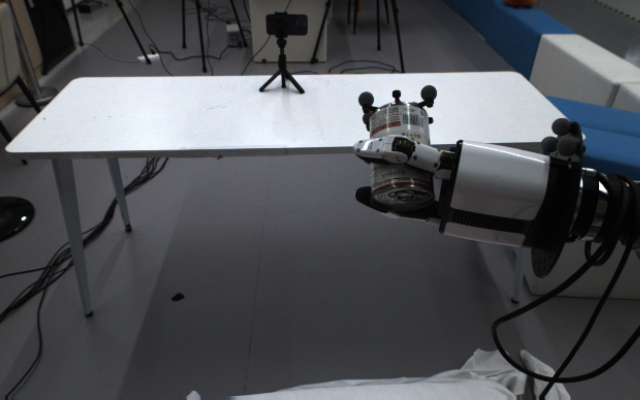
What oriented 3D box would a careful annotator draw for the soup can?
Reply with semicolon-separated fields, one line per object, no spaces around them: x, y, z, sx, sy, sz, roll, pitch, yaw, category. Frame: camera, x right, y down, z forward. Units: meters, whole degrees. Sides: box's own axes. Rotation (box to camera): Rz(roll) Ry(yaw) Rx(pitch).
0.090;-0.046;0.528;0.067;0.067;0.101;2;68;-1;soup can
